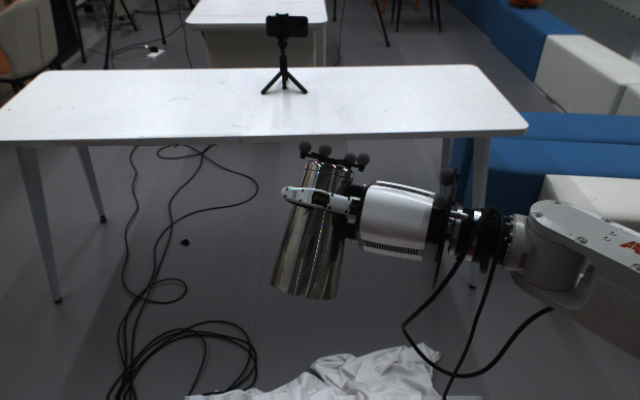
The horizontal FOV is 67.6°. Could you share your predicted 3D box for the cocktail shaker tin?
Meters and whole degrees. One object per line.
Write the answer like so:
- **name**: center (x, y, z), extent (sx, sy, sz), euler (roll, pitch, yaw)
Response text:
- **cocktail shaker tin**: center (-0.001, 0.035, 0.650), extent (0.093, 0.170, 0.093), euler (13, 1, 0)
